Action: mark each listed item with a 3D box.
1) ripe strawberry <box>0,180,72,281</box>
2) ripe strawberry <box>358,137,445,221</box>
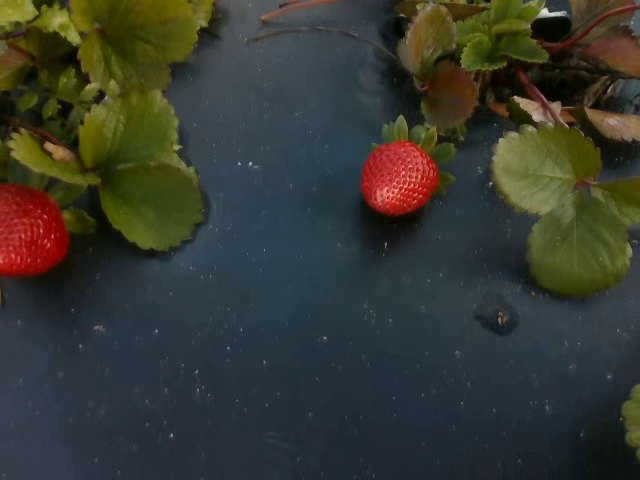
[{"bbox_3d":[-0.123,0.002,0.226,0.050,0.046,0.050,27,15,-10],"label":"ripe strawberry"},{"bbox_3d":[0.031,-0.022,0.248,0.041,0.045,0.052,-33,11,39],"label":"ripe strawberry"}]
